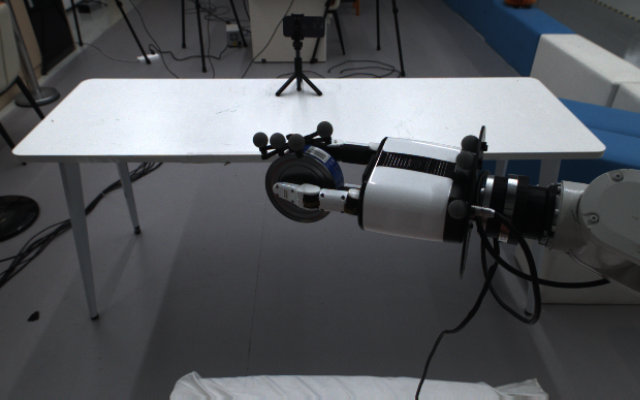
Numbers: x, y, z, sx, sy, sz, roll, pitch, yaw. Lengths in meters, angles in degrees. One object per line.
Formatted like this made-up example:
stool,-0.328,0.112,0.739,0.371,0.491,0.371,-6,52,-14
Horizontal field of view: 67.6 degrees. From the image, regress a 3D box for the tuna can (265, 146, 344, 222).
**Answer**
tuna can,-0.014,-0.015,0.552,0.085,0.085,0.034,13,29,15
